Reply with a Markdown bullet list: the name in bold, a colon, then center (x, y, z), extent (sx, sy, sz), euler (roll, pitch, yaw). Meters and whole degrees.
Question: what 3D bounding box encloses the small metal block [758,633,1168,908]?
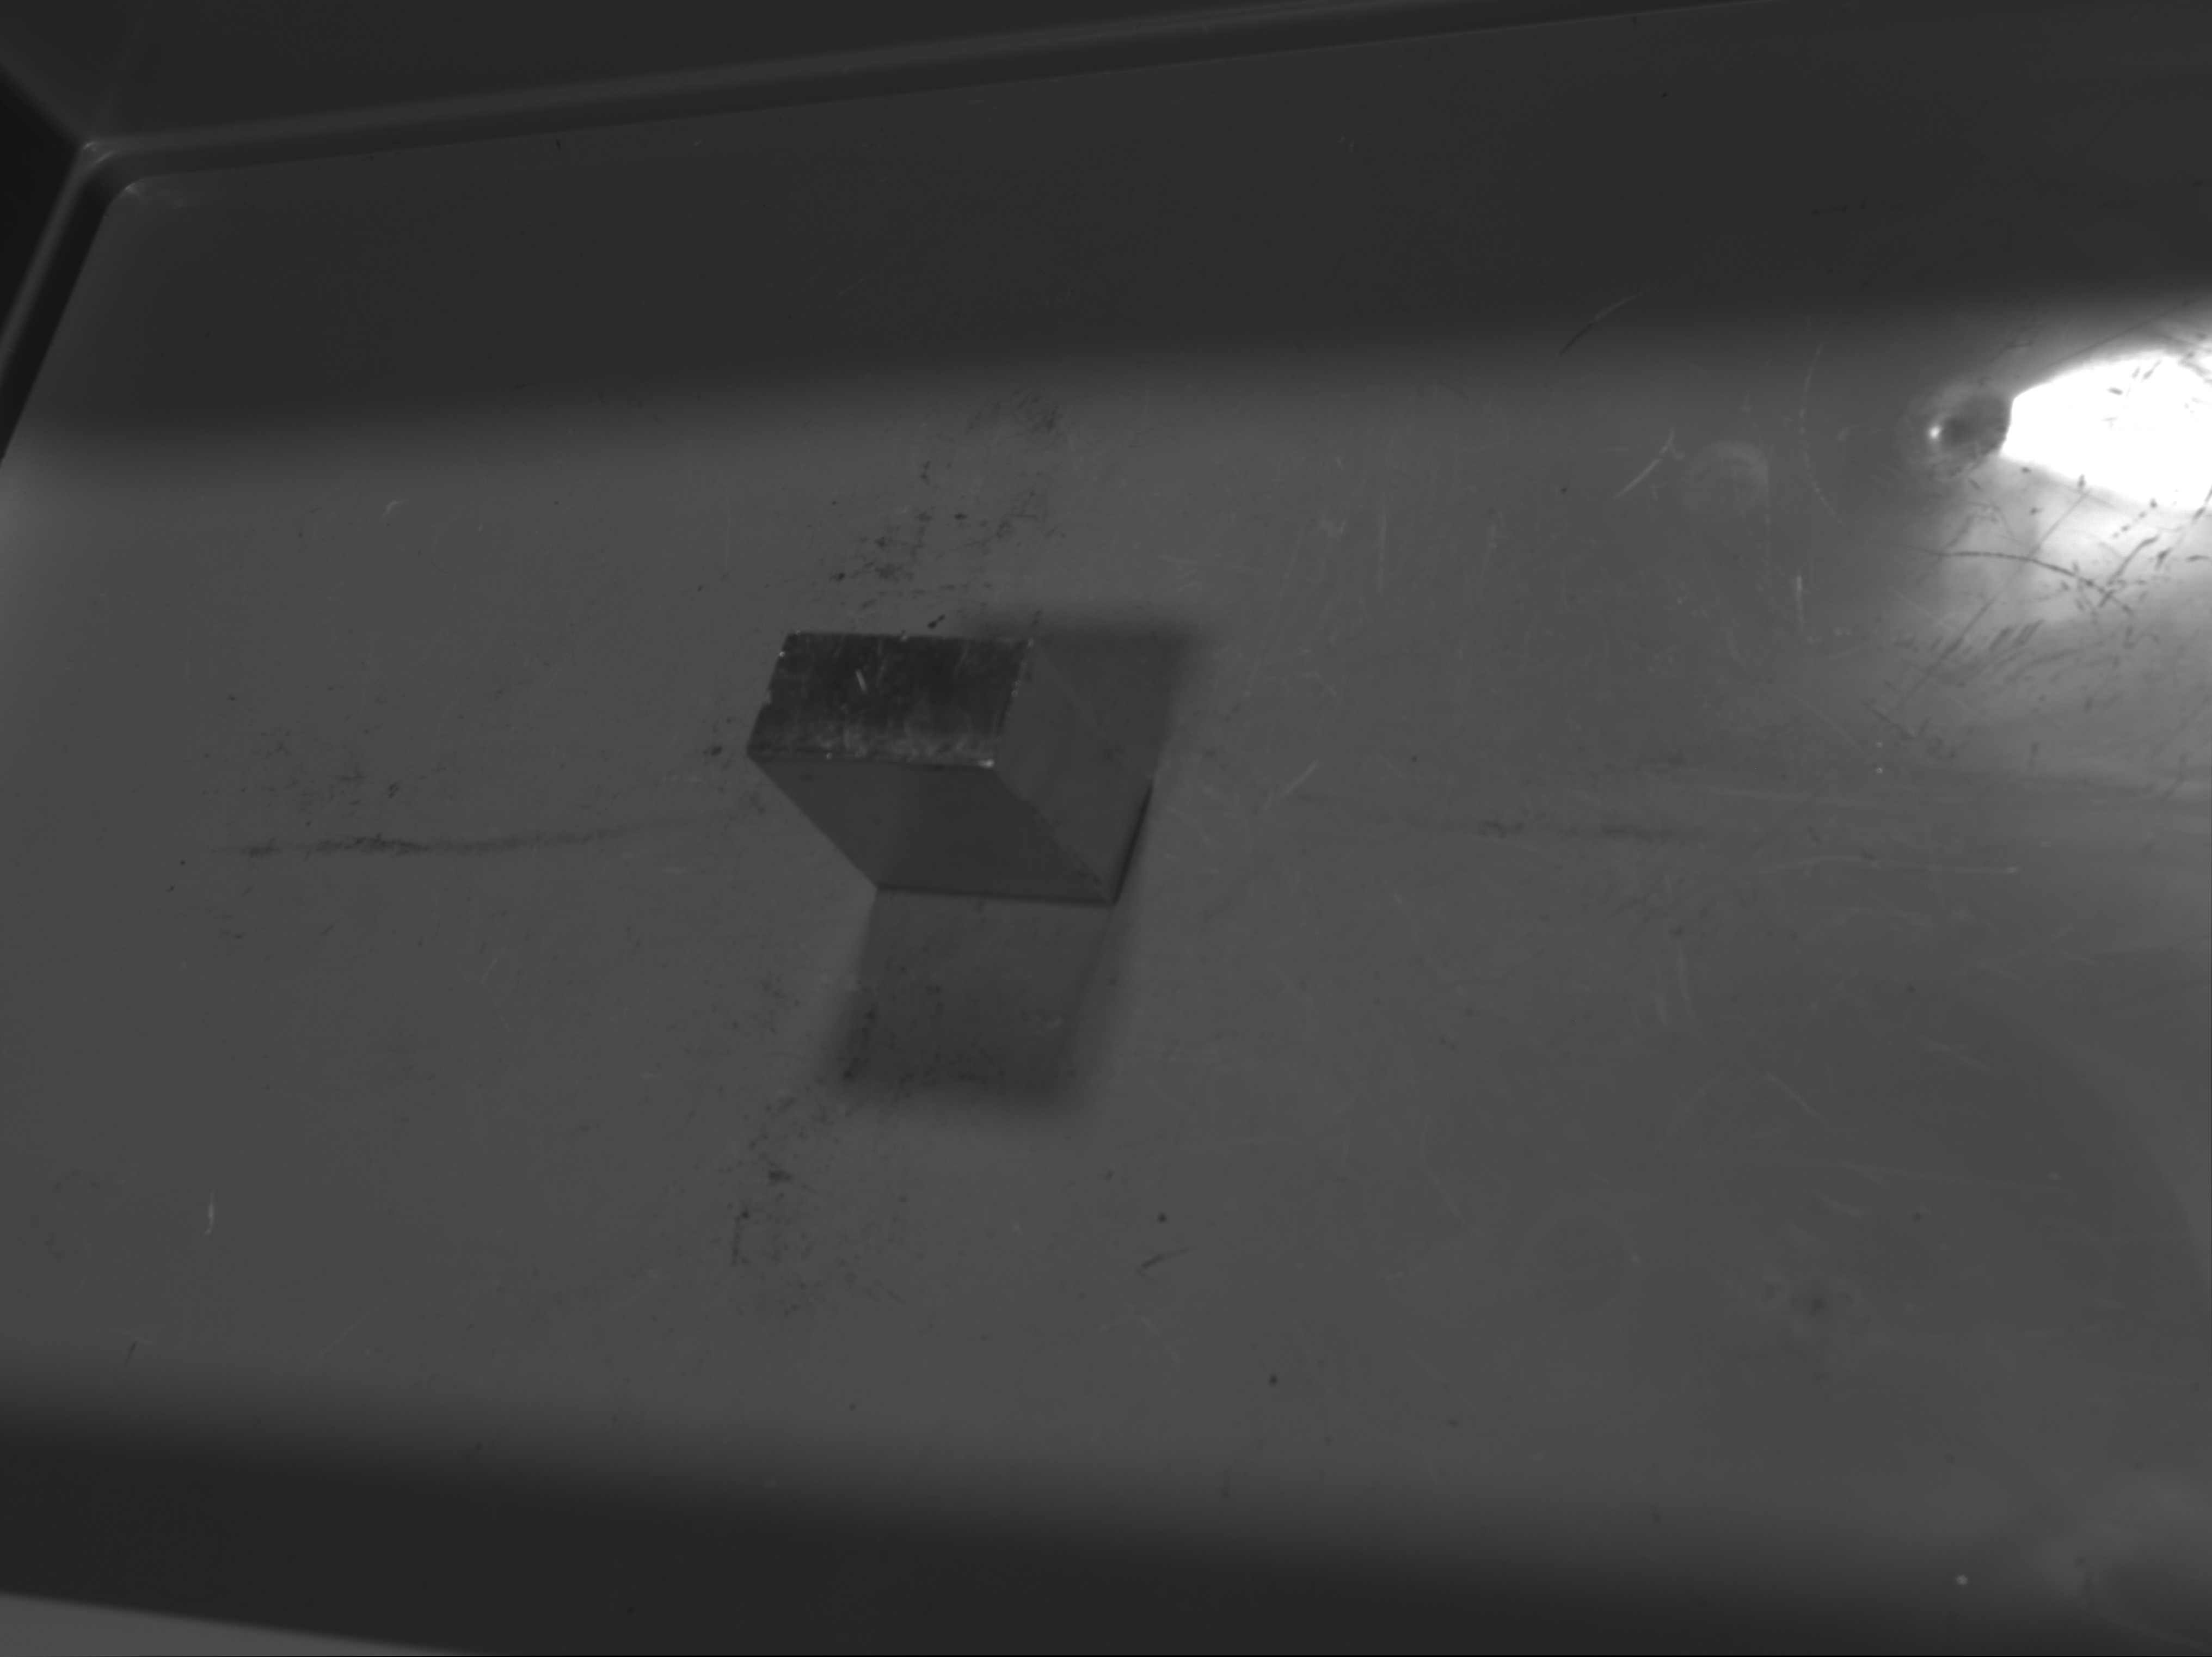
- **small metal block**: center (-0.024, -0.010, 0.644), extent (0.050, 0.050, 0.025), euler (3, 63, 30)
